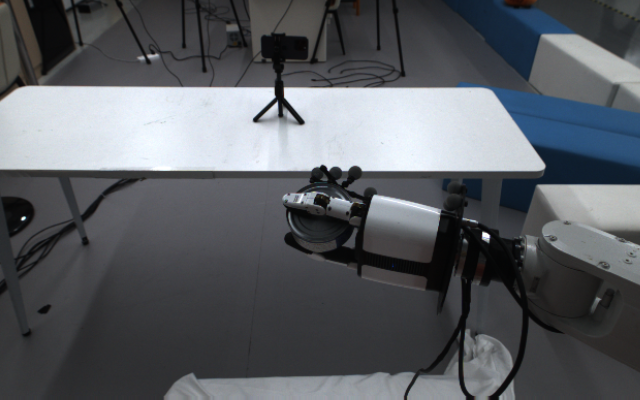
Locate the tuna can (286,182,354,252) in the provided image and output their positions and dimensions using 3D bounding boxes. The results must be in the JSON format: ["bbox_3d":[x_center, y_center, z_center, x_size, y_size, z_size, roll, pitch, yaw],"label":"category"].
[{"bbox_3d":[0.003,0.020,0.614,0.085,0.034,0.085,-4,56,6],"label":"tuna can"}]
